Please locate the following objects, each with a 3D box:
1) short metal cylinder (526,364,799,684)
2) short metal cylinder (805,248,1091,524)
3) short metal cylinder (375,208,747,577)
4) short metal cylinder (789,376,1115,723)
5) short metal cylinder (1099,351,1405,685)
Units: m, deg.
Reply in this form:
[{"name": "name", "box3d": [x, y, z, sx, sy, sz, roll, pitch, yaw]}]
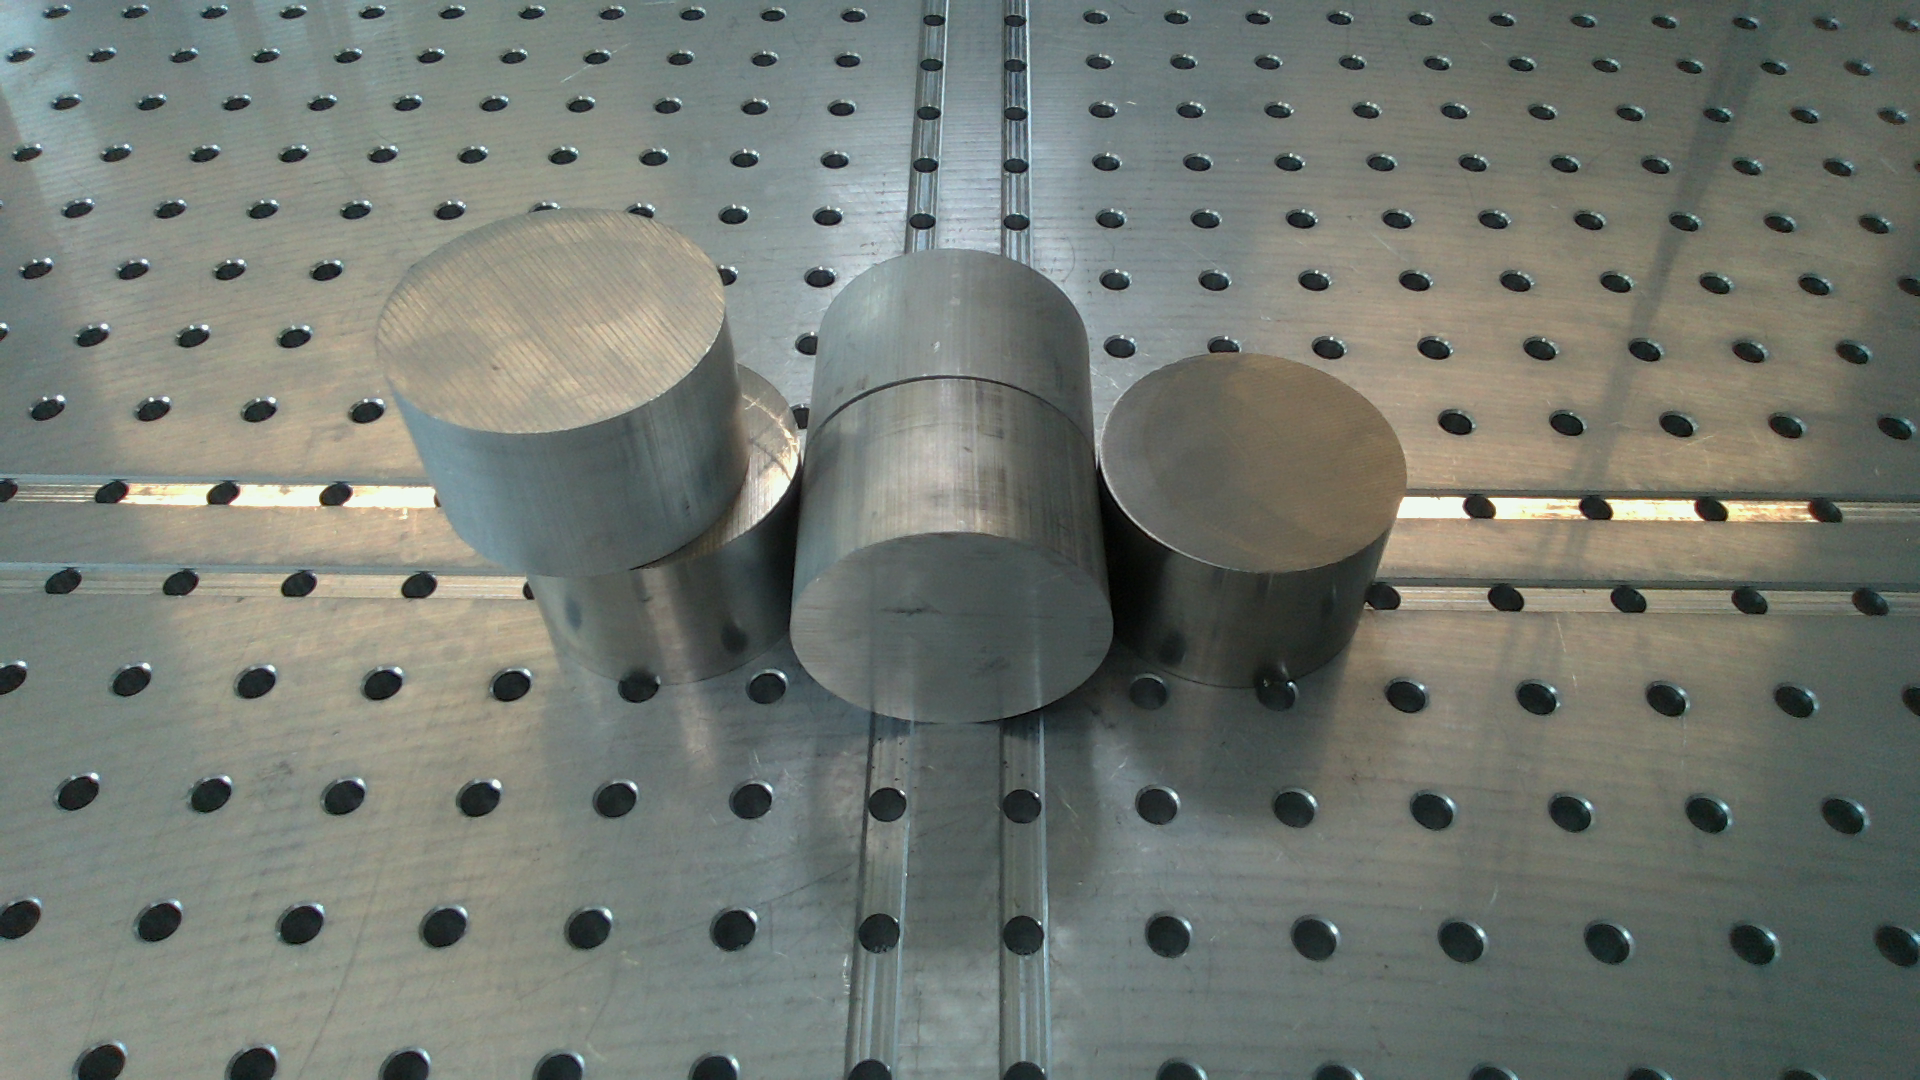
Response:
[{"name": "short metal cylinder", "box3d": [-0.083, -0.007, 0.384, 0.080, 0.050, 0.080, 0, 50, 0]}, {"name": "short metal cylinder", "box3d": [-0.003, -0.035, 0.389, 0.080, 0.080, 0.050, 1, 51, 1]}, {"name": "short metal cylinder", "box3d": [-0.096, -0.038, 0.343, 0.080, 0.050, 0.080, 0, 50, 0]}, {"name": "short metal cylinder", "box3d": [-0.002, 0.004, 0.355, 0.080, 0.080, 0.050, -1, 50, -1]}, {"name": "short metal cylinder", "box3d": [0.077, -0.007, 0.383, 0.080, 0.050, 0.080, 0, 50, 0]}]
